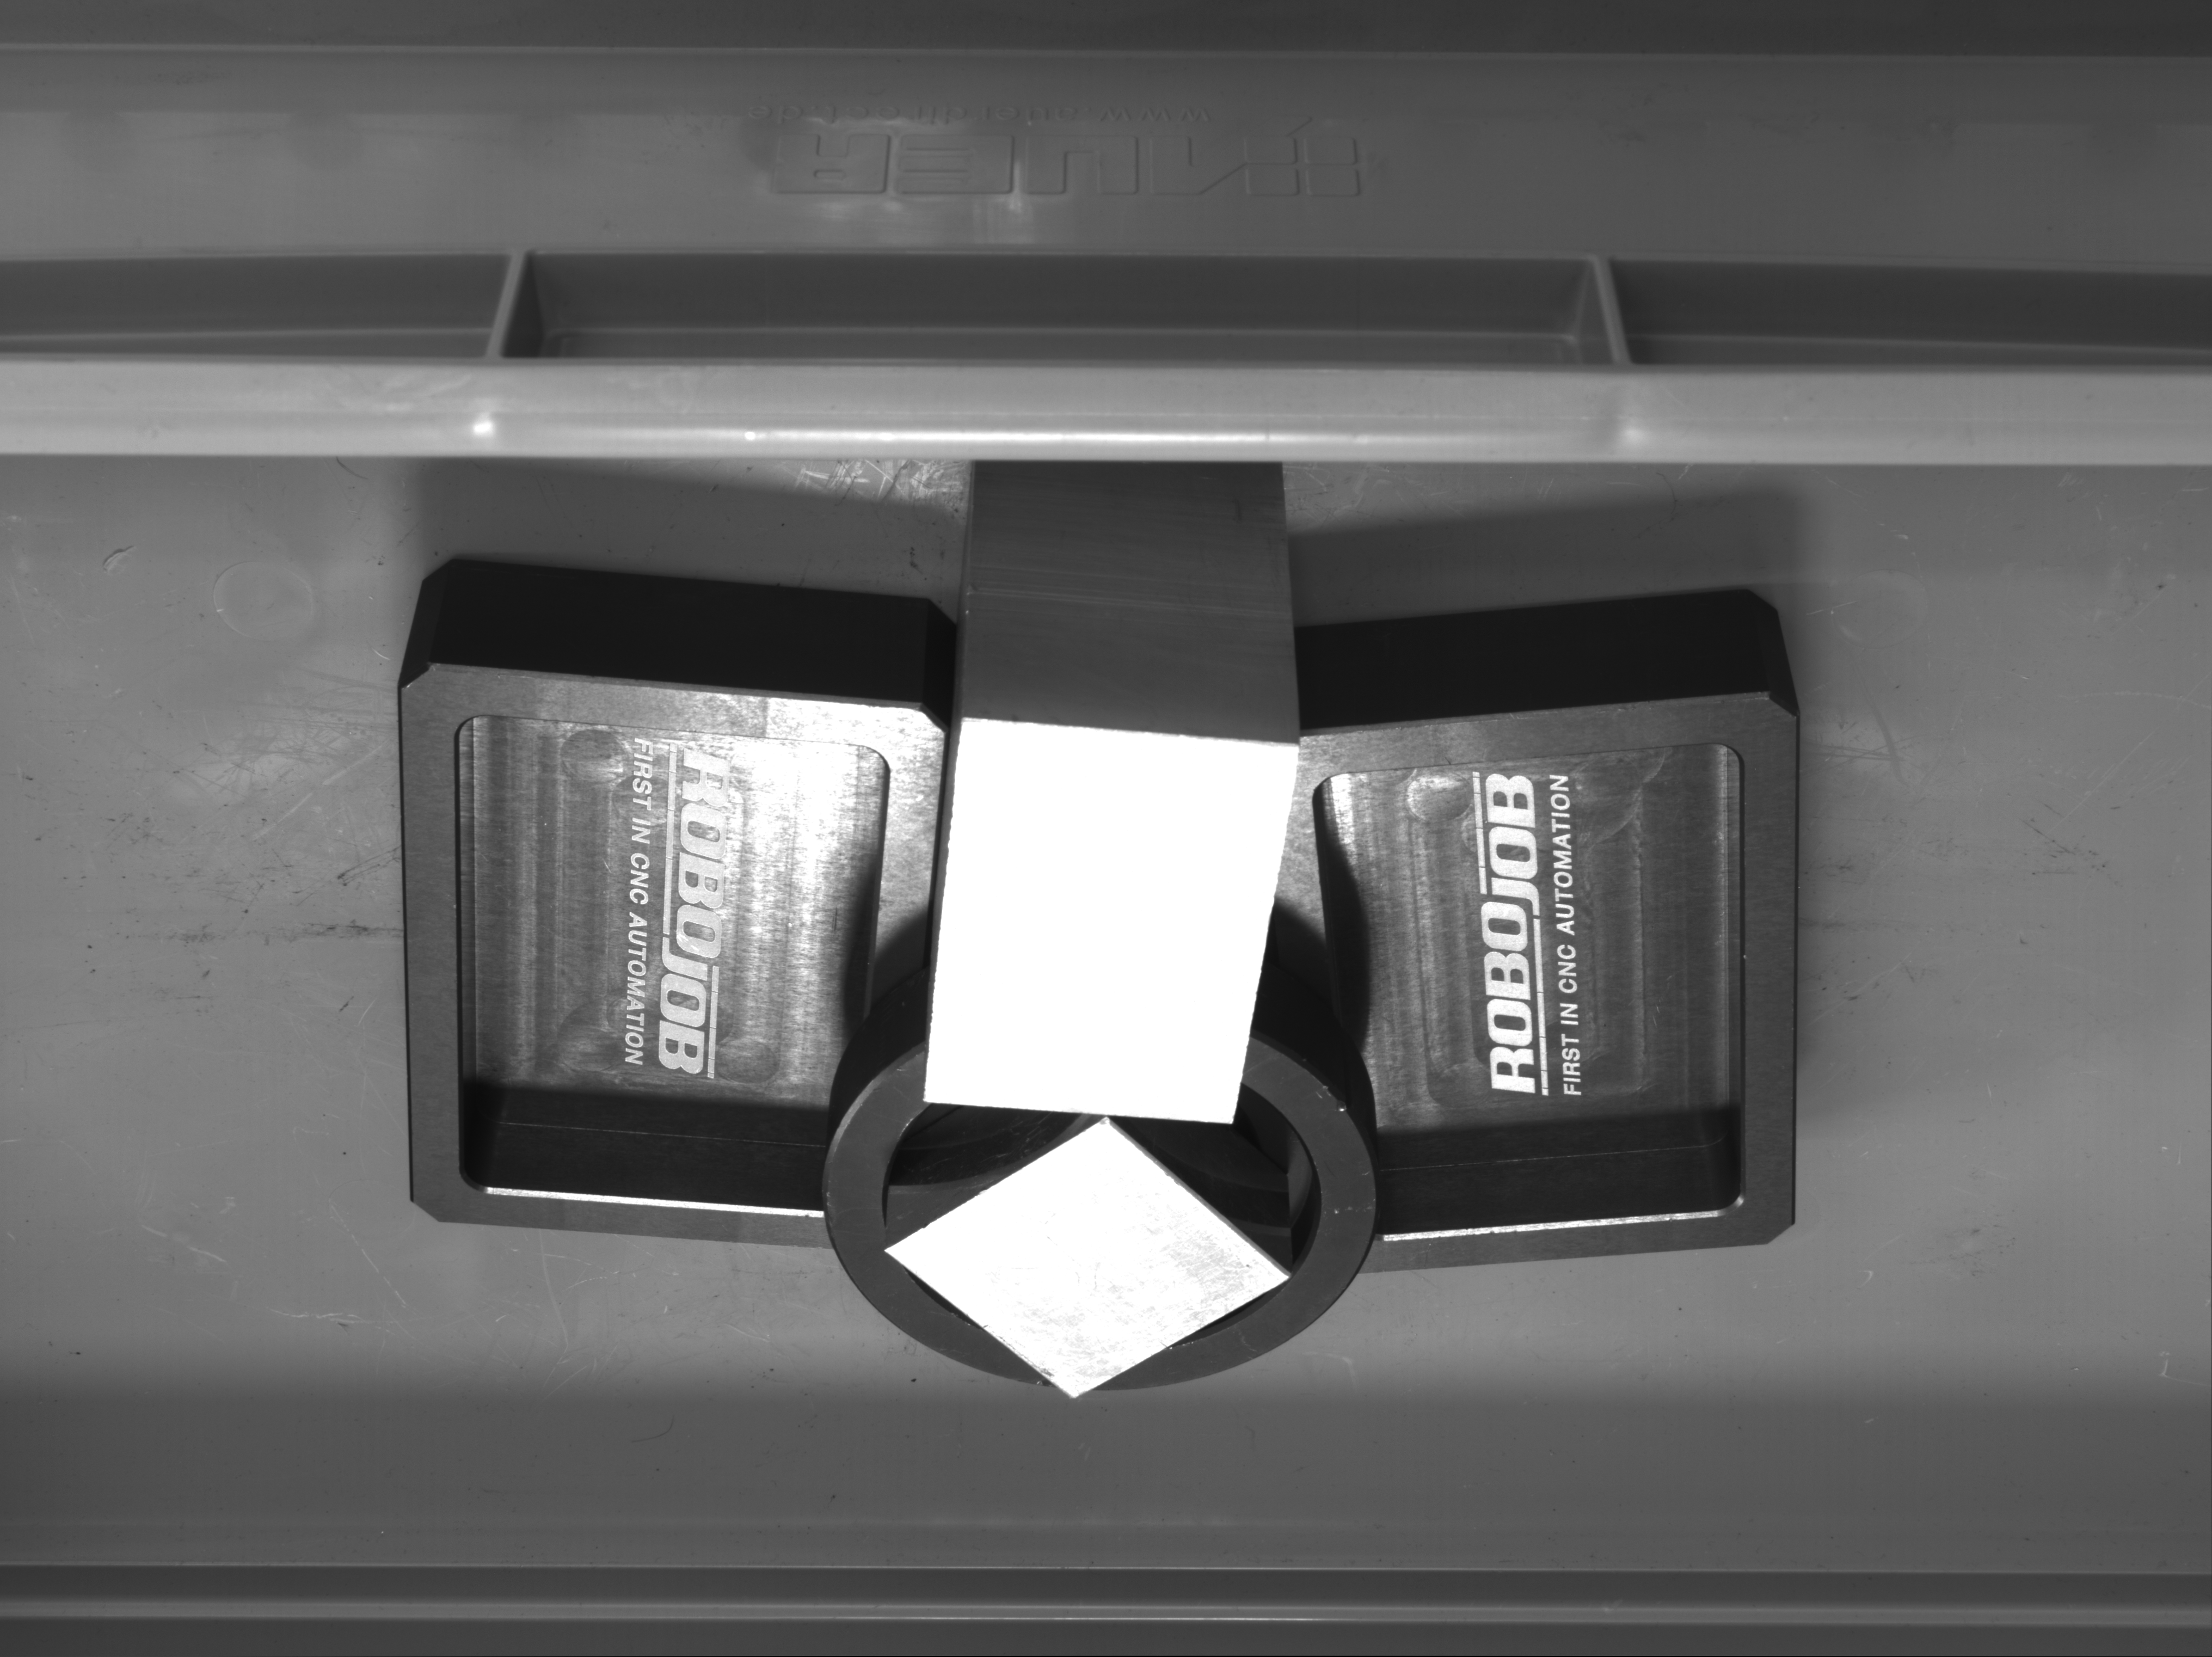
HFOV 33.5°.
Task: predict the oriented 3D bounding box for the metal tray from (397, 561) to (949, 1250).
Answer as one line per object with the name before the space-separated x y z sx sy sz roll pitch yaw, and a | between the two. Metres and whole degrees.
metal tray | -0.077 0.017 0.648 0.090 0.030 0.130 5 130 -4

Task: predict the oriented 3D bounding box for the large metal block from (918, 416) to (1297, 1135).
large metal block | -0.001 -0.009 0.595 0.050 0.080 0.080 5 130 -4

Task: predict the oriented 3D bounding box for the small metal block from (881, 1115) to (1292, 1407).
small metal block | -0.003 0.068 0.640 0.050 0.025 0.050 -32 123 24

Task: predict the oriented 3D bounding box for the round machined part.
round machined part | 0.000 0.053 0.659 0.098 0.042 0.098 0 130 0

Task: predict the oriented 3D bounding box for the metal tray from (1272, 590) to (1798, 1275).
metal tray | 0.076 0.022 0.653 0.090 0.030 0.130 -5 130 4
